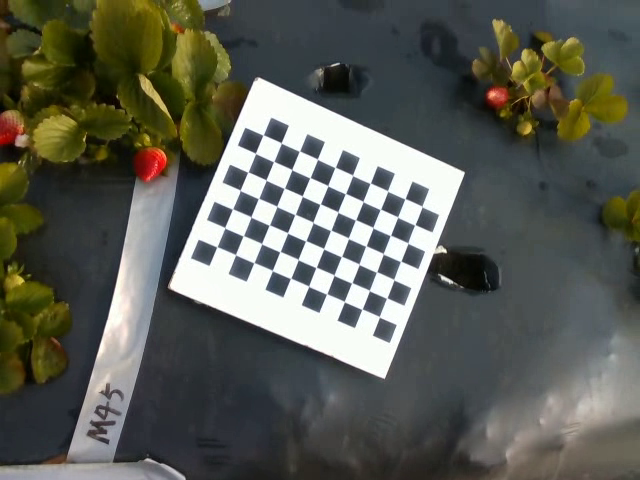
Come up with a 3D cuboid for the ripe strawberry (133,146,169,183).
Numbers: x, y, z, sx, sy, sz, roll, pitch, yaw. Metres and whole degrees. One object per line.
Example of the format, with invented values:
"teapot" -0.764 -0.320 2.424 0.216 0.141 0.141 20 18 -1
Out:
"ripe strawberry" -0.186 -0.080 0.662 0.050 0.055 0.035 18 -23 -13
